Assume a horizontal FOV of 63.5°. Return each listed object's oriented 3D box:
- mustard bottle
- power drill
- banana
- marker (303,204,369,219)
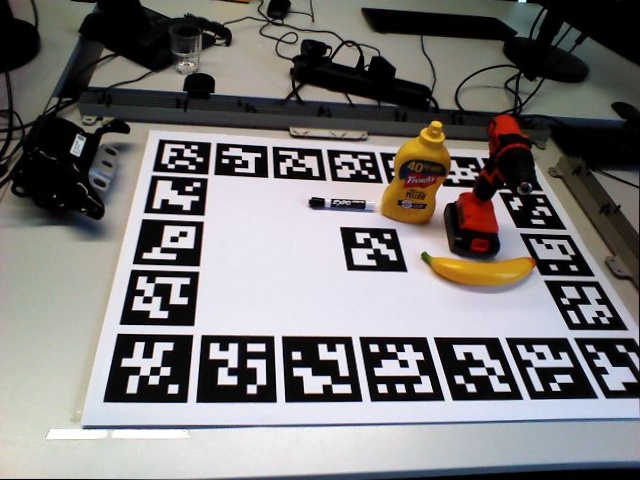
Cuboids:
[{"bbox_3d":[0.166,-0.097,0.892,0.096,0.192,0.058,11,46,-1],"label":"mustard bottle"},{"bbox_3d":[0.276,-0.057,0.849,0.057,0.188,0.183,14,44,1],"label":"power drill"},{"bbox_3d":[0.259,0.072,0.857,0.198,0.039,0.074,7,48,0],"label":"banana"},{"bbox_3d":[0.029,-0.052,0.945,0.121,0.020,0.019,4,47,-6],"label":"marker"}]
